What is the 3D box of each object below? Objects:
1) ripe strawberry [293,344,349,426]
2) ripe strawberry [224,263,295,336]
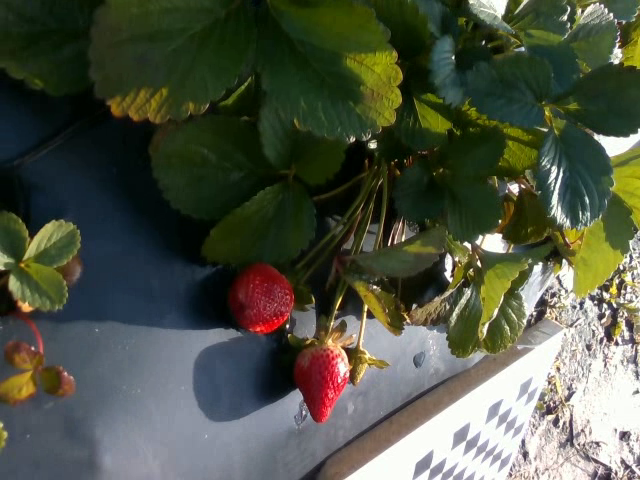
[{"bbox_3d":[0.003,0.092,0.381,0.039,0.053,0.043,-14,-32,26],"label":"ripe strawberry"},{"bbox_3d":[-0.036,0.037,0.360,0.039,0.048,0.054,23,17,18],"label":"ripe strawberry"}]
